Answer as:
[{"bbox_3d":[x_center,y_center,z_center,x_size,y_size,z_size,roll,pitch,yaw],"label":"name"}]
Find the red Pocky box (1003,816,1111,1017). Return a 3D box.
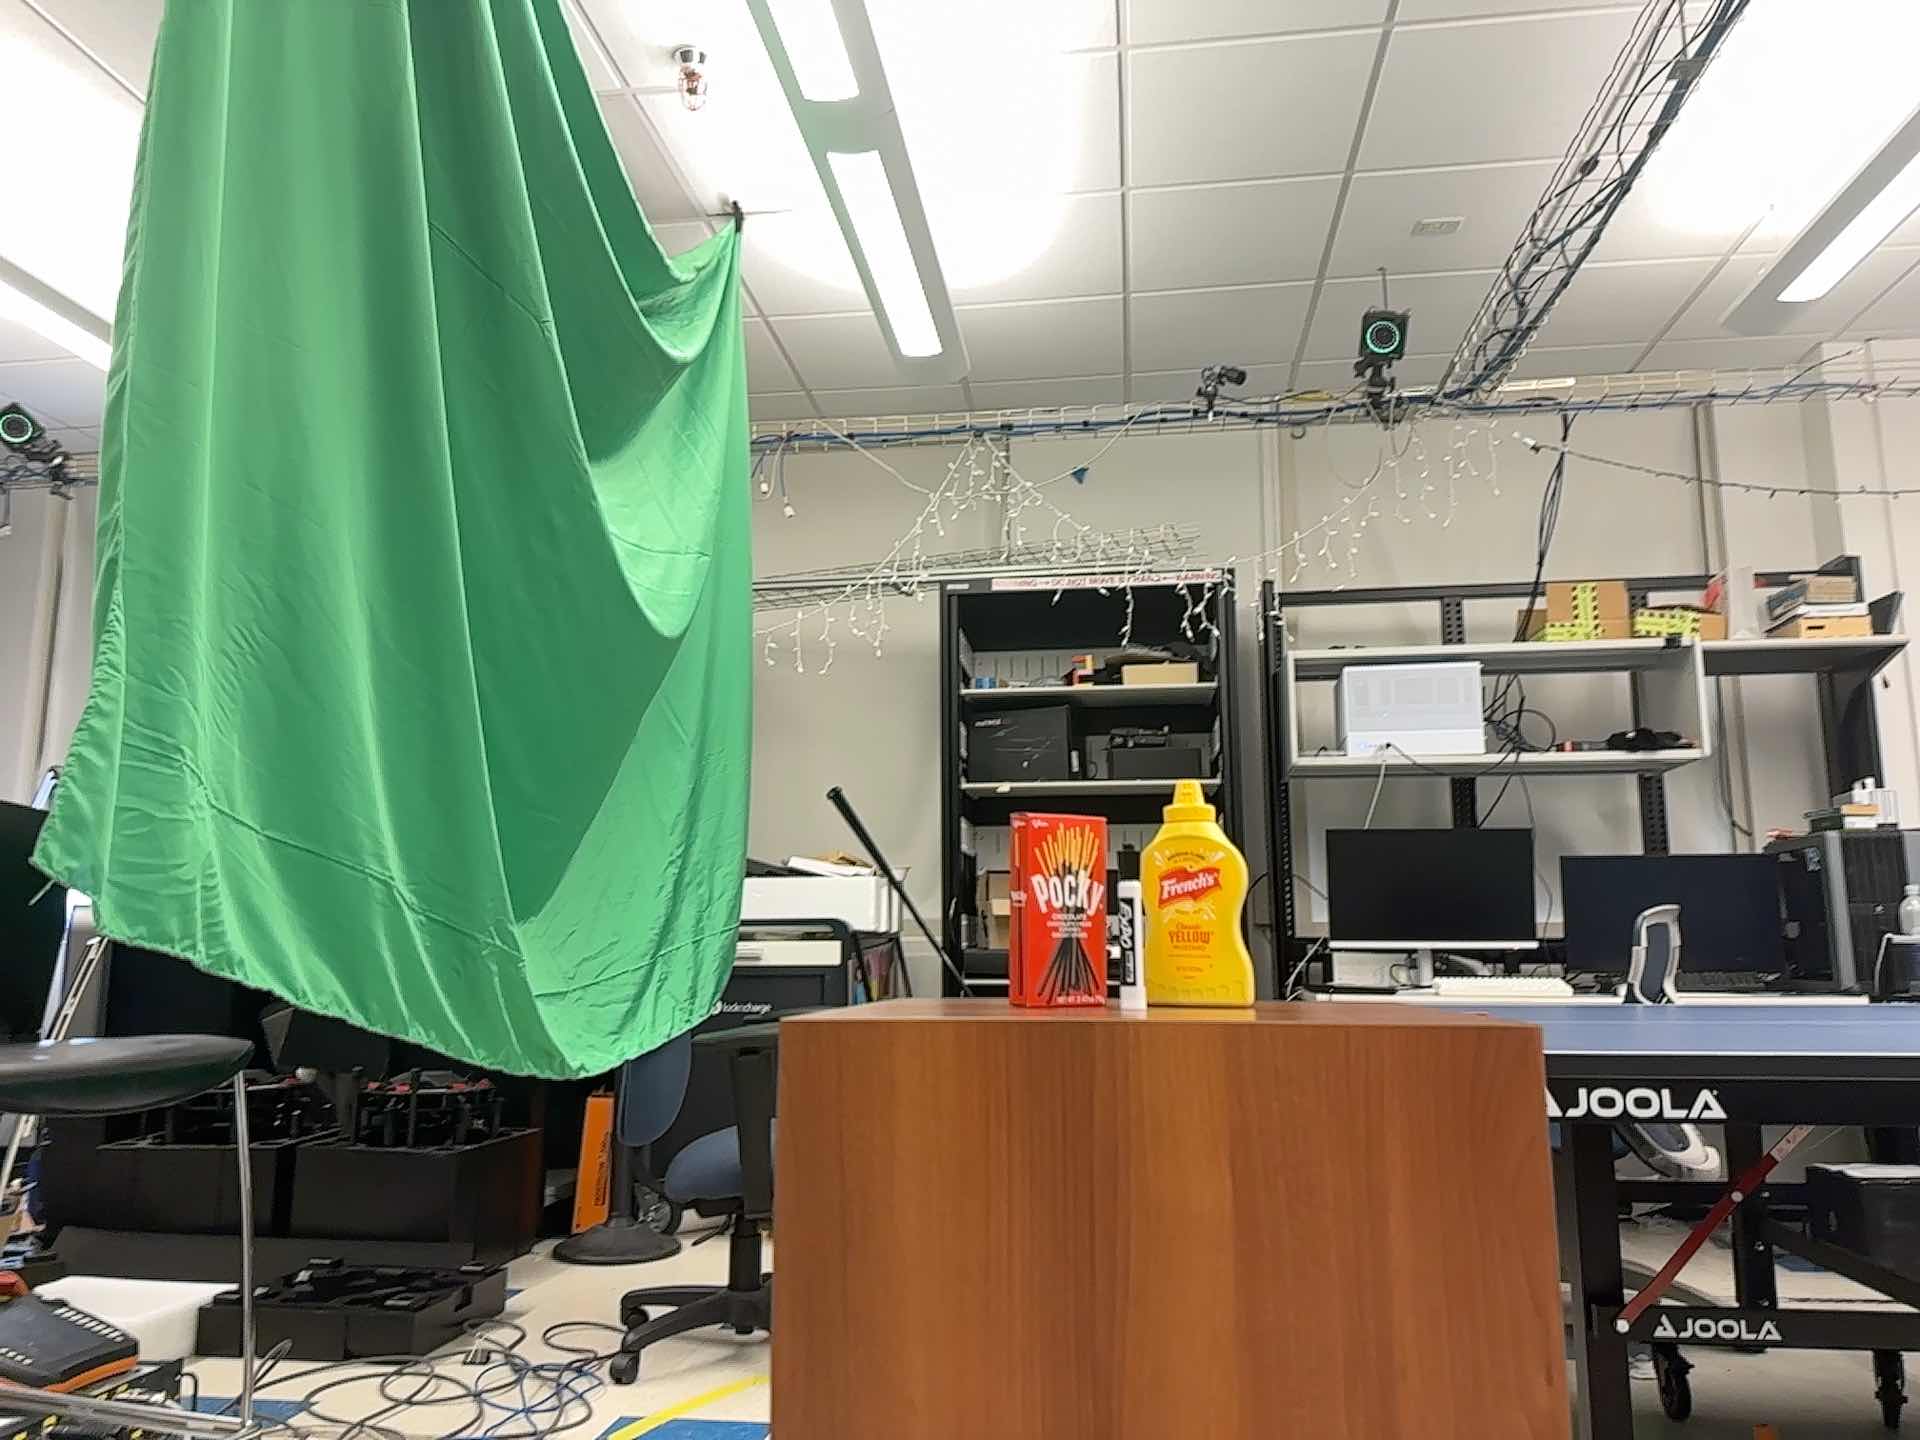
[{"bbox_3d":[0.076,0.153,1.060,0.083,0.155,0.028,2,-8,-28],"label":"red Pocky box"}]

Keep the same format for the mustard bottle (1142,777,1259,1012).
[{"bbox_3d":[0.186,0.137,1.075,0.092,0.184,0.054,-6,-9,27],"label":"mustard bottle"}]

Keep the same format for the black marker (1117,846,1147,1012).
[{"bbox_3d":[0.127,0.154,1.000,0.020,0.121,0.020,1,-12,0],"label":"black marker"}]
